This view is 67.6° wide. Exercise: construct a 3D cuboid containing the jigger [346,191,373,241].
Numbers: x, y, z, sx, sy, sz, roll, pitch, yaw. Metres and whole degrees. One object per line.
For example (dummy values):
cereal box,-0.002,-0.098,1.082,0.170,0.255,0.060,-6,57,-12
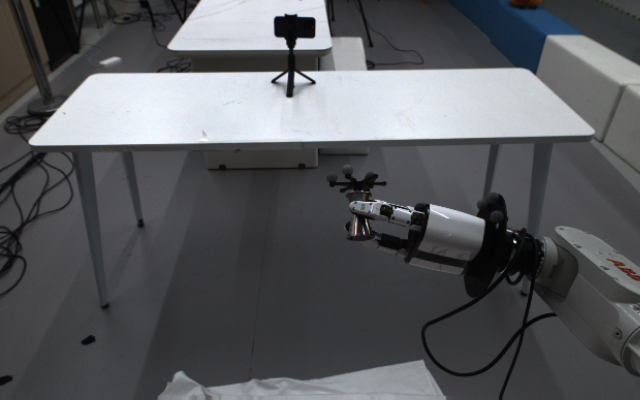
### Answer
jigger,0.059,0.023,0.724,0.043,0.043,0.071,0,75,-3
